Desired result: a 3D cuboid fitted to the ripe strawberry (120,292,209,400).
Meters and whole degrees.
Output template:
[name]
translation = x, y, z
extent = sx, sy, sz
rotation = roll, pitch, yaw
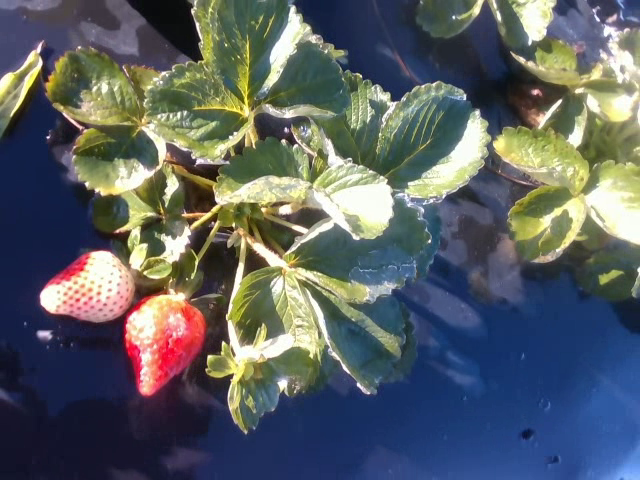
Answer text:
[ripe strawberry]
translation = -0.071, 0.049, 0.264
extent = 0.040, 0.037, 0.055
rotation = 3, 34, 5
